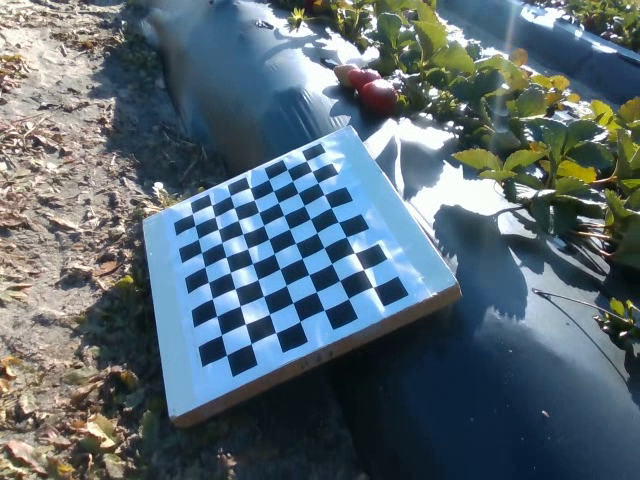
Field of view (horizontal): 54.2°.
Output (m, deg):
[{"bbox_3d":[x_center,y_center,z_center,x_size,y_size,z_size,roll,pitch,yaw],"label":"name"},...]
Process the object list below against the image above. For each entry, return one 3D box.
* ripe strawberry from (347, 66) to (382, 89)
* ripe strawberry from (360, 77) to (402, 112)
[{"bbox_3d":[0.064,-0.230,0.895,0.061,0.050,0.043,23,-44,-17],"label":"ripe strawberry"},{"bbox_3d":[0.080,-0.201,0.852,0.056,0.051,0.067,4,-5,27],"label":"ripe strawberry"}]
